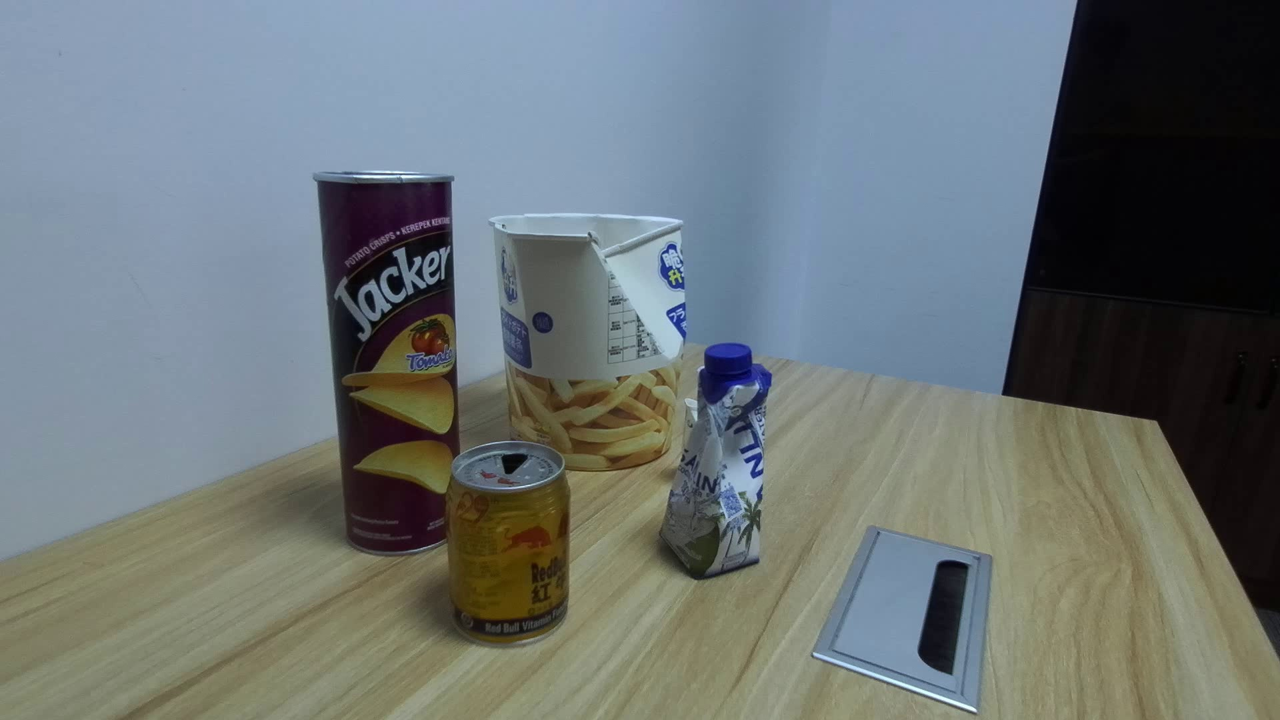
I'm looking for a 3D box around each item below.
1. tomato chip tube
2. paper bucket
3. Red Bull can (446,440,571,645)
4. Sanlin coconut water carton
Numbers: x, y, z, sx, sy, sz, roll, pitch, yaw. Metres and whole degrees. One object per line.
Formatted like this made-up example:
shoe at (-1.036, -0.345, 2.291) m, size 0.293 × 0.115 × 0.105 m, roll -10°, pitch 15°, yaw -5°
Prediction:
tomato chip tube at (-0.155, 0.002, 0.451) m, size 0.080 × 0.234 × 0.076 m, roll -6°, pitch 18°, yaw -27°
paper bucket at (-0.040, -0.019, 0.608) m, size 0.169 × 0.202 × 0.162 m, roll 0°, pitch 18°, yaw -1°
Red Bull can at (-0.071, 0.099, 0.385) m, size 0.068 × 0.093 × 0.068 m, roll 2°, pitch 15°, yaw 0°
Sanlin coconut water carton at (0.060, 0.062, 0.444) m, size 0.069 × 0.144 × 0.056 m, roll 3°, pitch 21°, yaw -31°
